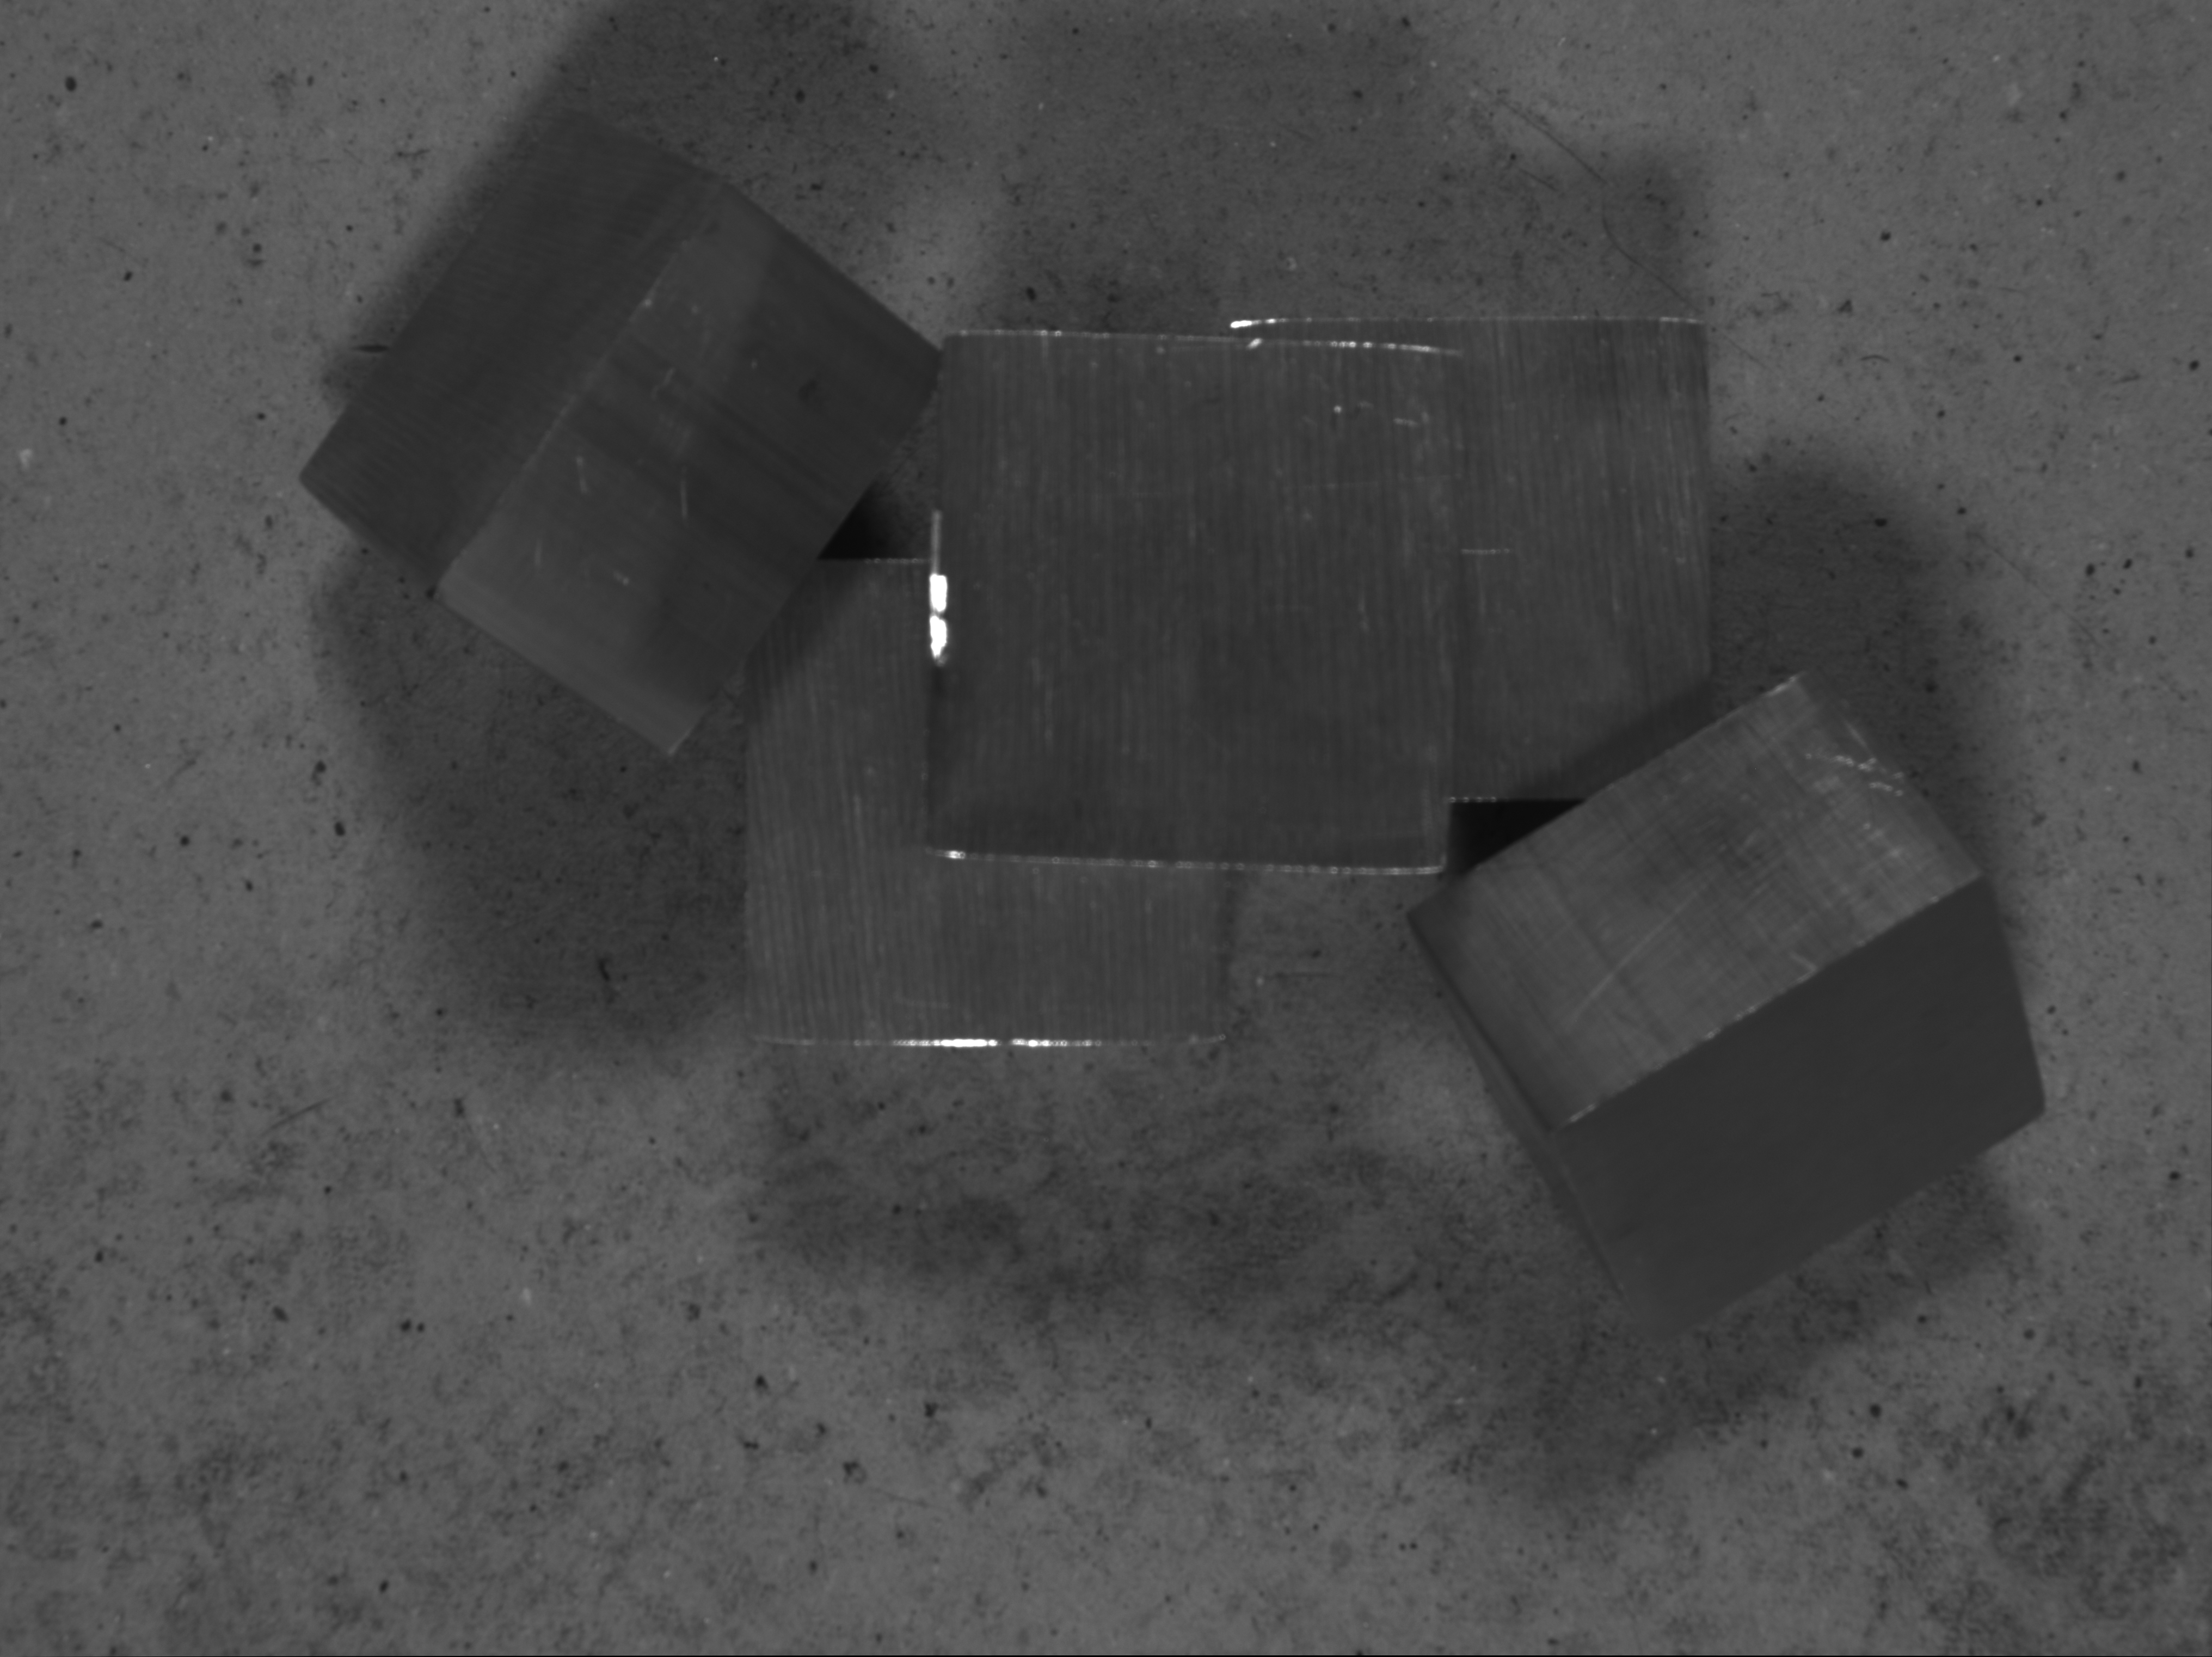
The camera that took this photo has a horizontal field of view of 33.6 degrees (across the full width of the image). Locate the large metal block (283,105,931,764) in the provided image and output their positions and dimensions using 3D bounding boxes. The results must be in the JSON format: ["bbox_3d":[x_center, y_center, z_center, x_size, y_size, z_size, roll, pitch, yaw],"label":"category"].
[{"bbox_3d":[-0.083,-0.068,0.610,0.050,0.080,0.080,36,90,-33],"label":"large metal block"}]

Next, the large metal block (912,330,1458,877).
[{"bbox_3d":[0.012,-0.034,0.581,0.080,0.050,0.080,2,90,0],"label":"large metal block"}]

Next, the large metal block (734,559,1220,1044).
[{"bbox_3d":[-0.021,-0.004,0.631,0.080,0.050,0.080,0,90,0],"label":"large metal block"}]

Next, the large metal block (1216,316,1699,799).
[{"bbox_3d":[0.058,-0.045,0.634,0.080,0.050,0.080,0,90,0],"label":"large metal block"}]

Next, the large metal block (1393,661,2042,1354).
[{"bbox_3d":[0.104,0.031,0.612,0.080,0.080,0.050,-31,52,-1],"label":"large metal block"}]
